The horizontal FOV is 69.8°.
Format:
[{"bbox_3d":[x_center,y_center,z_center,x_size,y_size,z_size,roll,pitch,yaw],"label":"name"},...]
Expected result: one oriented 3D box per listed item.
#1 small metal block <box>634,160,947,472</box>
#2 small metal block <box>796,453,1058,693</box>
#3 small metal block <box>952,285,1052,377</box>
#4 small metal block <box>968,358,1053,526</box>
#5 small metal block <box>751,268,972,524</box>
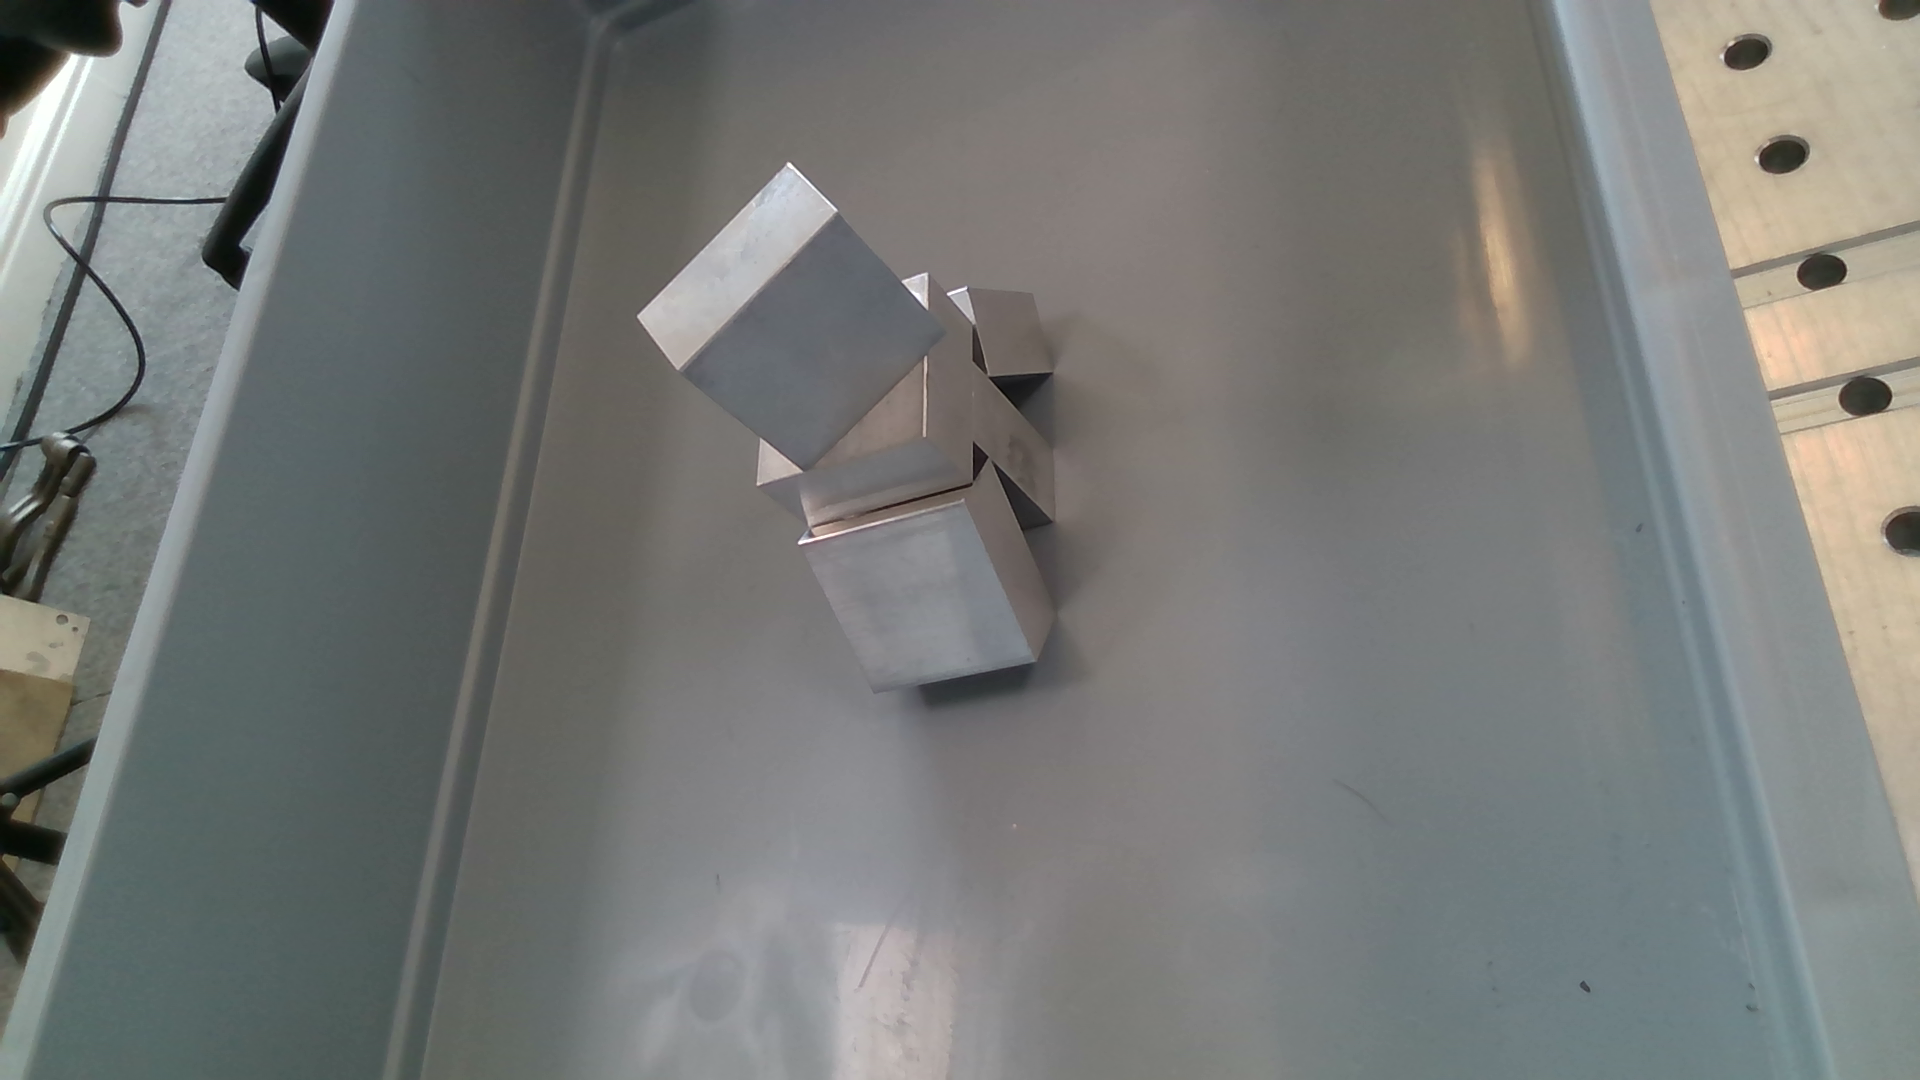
[{"bbox_3d":[-0.039,-0.052,0.329,0.050,0.050,0.025,-44,51,4],"label":"small metal block"},{"bbox_3d":[-0.008,0.010,0.372,0.050,0.050,0.025,-14,25,25],"label":"small metal block"},{"bbox_3d":[-0.007,-0.055,0.405,0.050,0.050,0.025,-14,92,25],"label":"small metal block"},{"bbox_3d":[-0.007,-0.022,0.391,0.050,0.050,0.025,-14,59,25],"label":"small metal block"},{"bbox_3d":[-0.025,-0.037,0.361,0.050,0.025,0.050,-14,59,25],"label":"small metal block"}]
